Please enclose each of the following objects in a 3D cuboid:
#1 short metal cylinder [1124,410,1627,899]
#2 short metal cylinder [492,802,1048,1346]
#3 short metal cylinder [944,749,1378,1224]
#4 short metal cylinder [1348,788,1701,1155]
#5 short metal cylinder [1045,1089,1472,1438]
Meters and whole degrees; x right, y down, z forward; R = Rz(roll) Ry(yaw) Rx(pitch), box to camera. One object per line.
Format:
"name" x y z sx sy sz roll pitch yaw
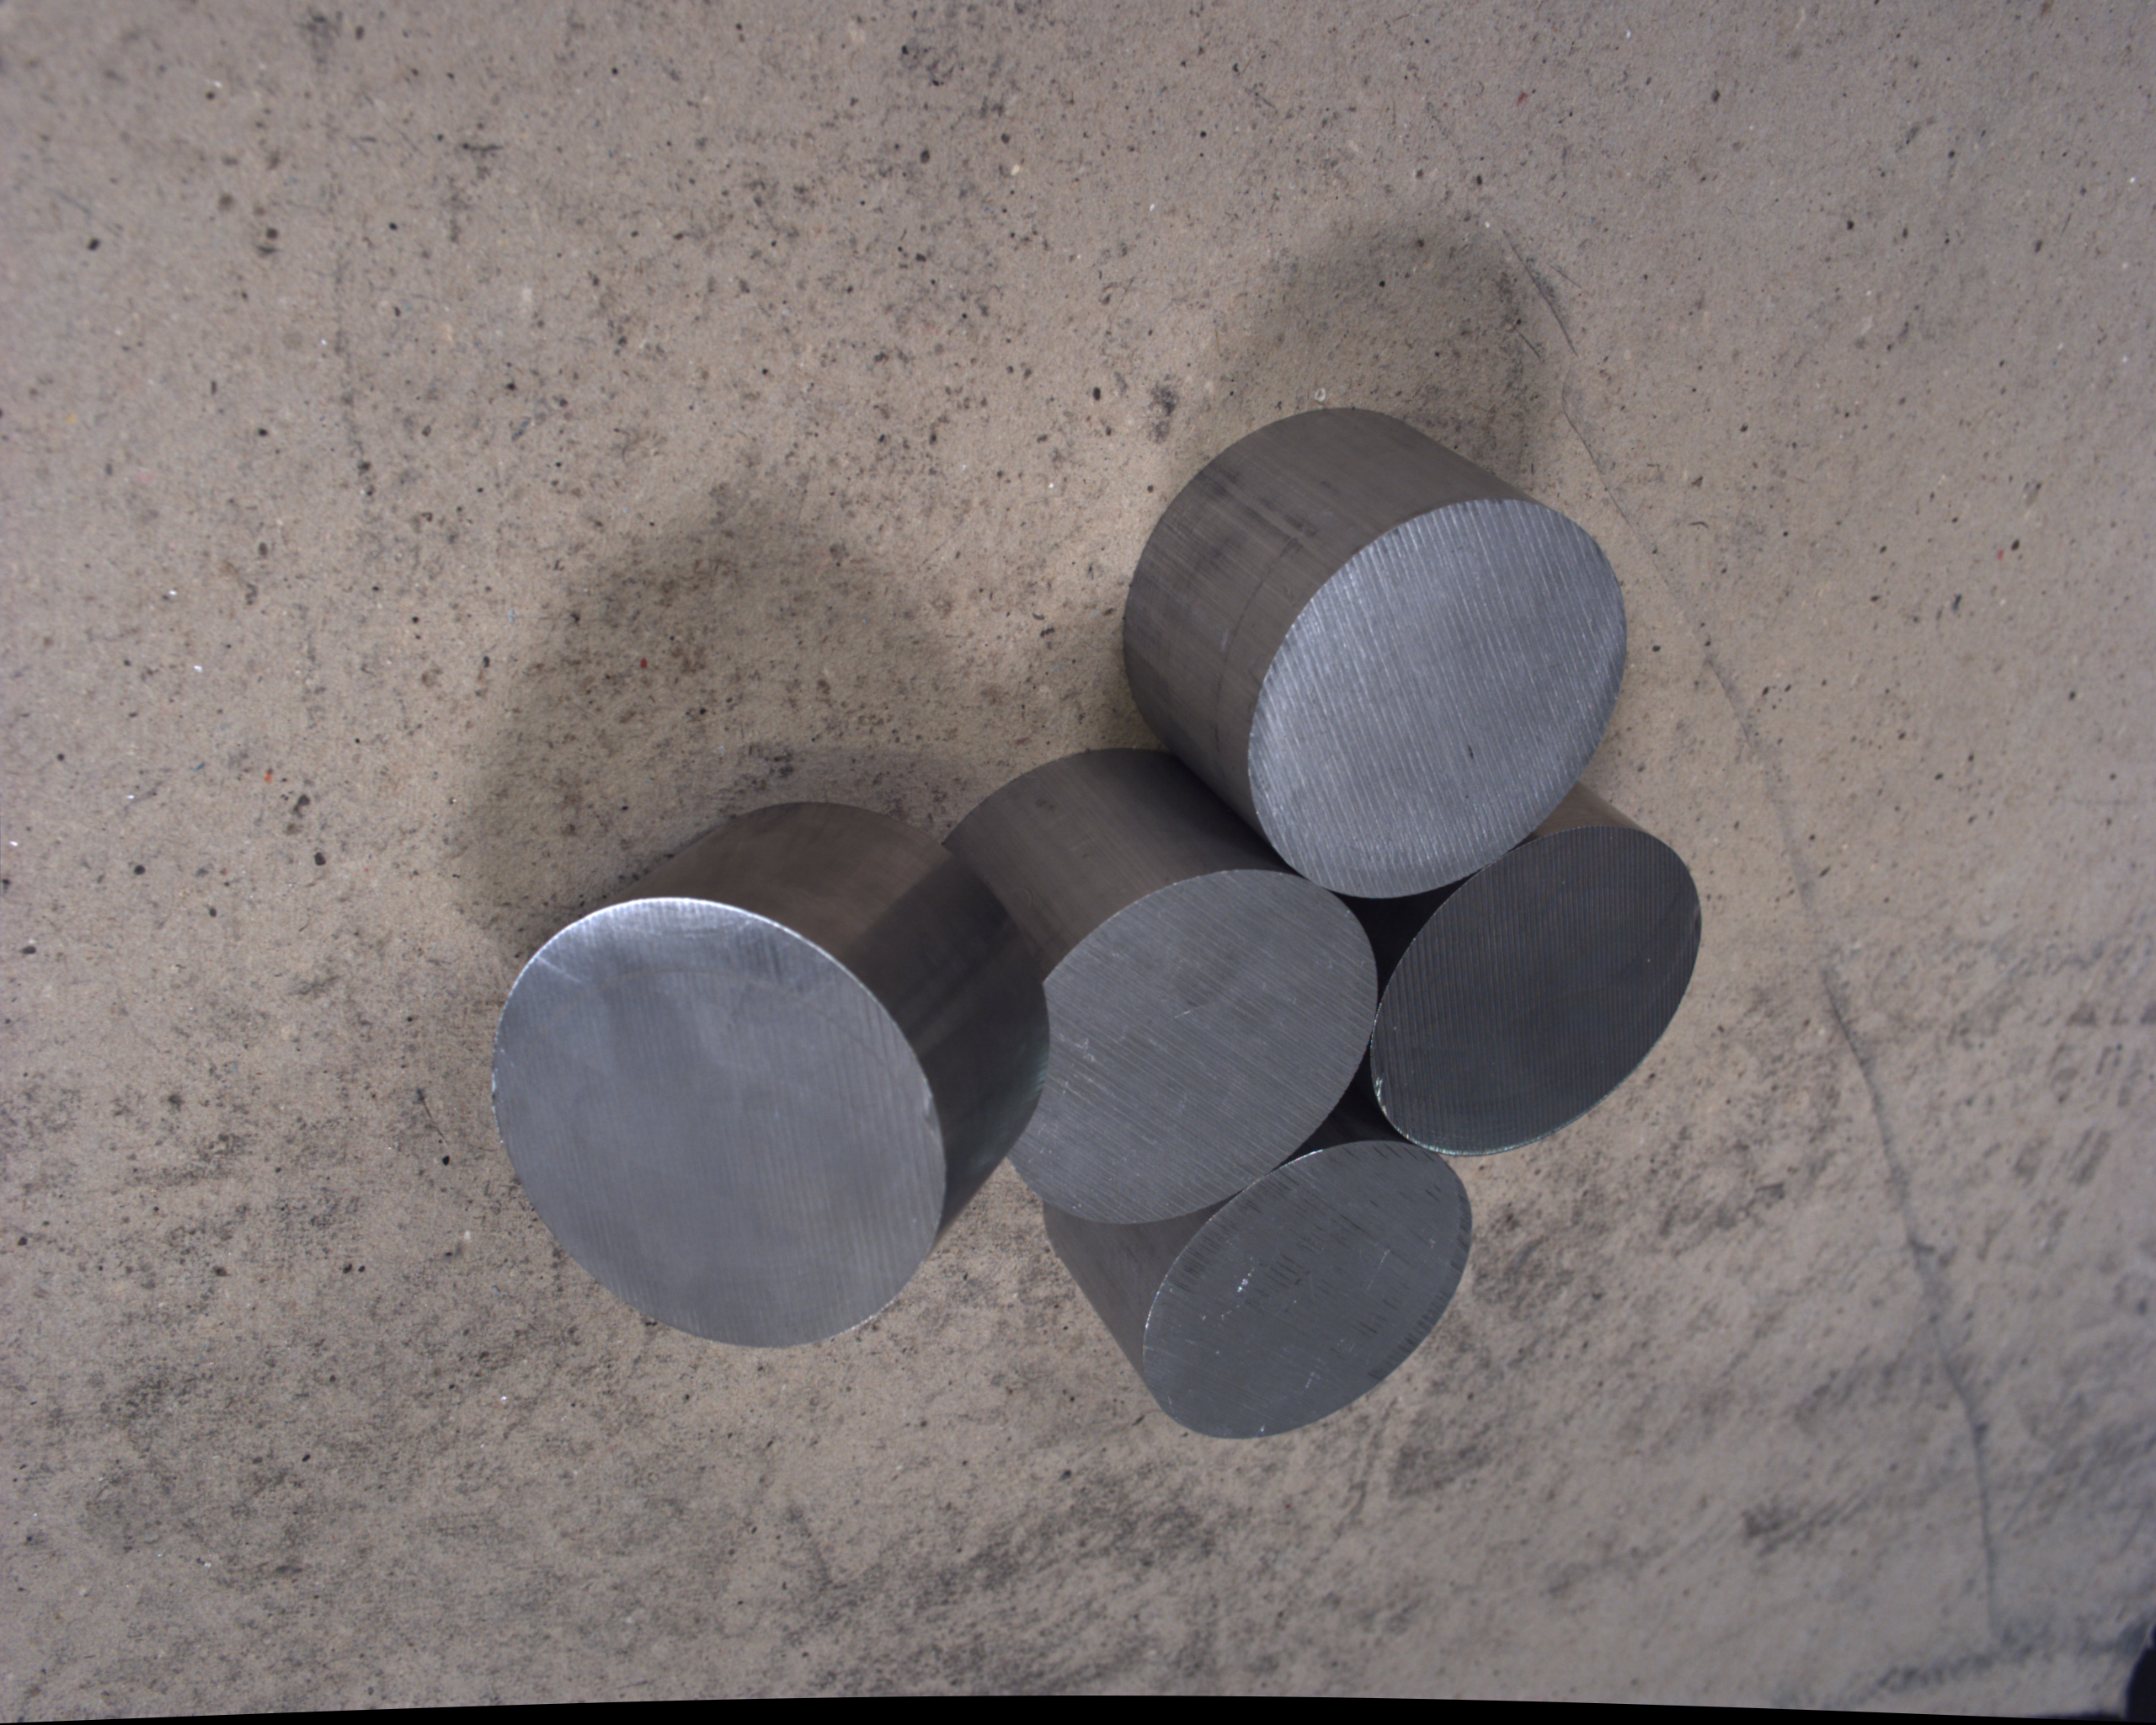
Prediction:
"short metal cylinder" 0.056 -0.040 0.398 0.081 0.050 0.079 -14 124 -21
"short metal cylinder" -0.051 0.035 0.359 0.080 0.050 0.079 6 111 17
"short metal cylinder" 0.011 0.024 0.413 0.081 0.050 0.079 -14 124 -21
"short metal cylinder" 0.085 0.015 0.448 0.081 0.050 0.079 -14 124 -21
"short metal cylinder" 0.039 0.080 0.463 0.081 0.050 0.079 -14 124 -21
